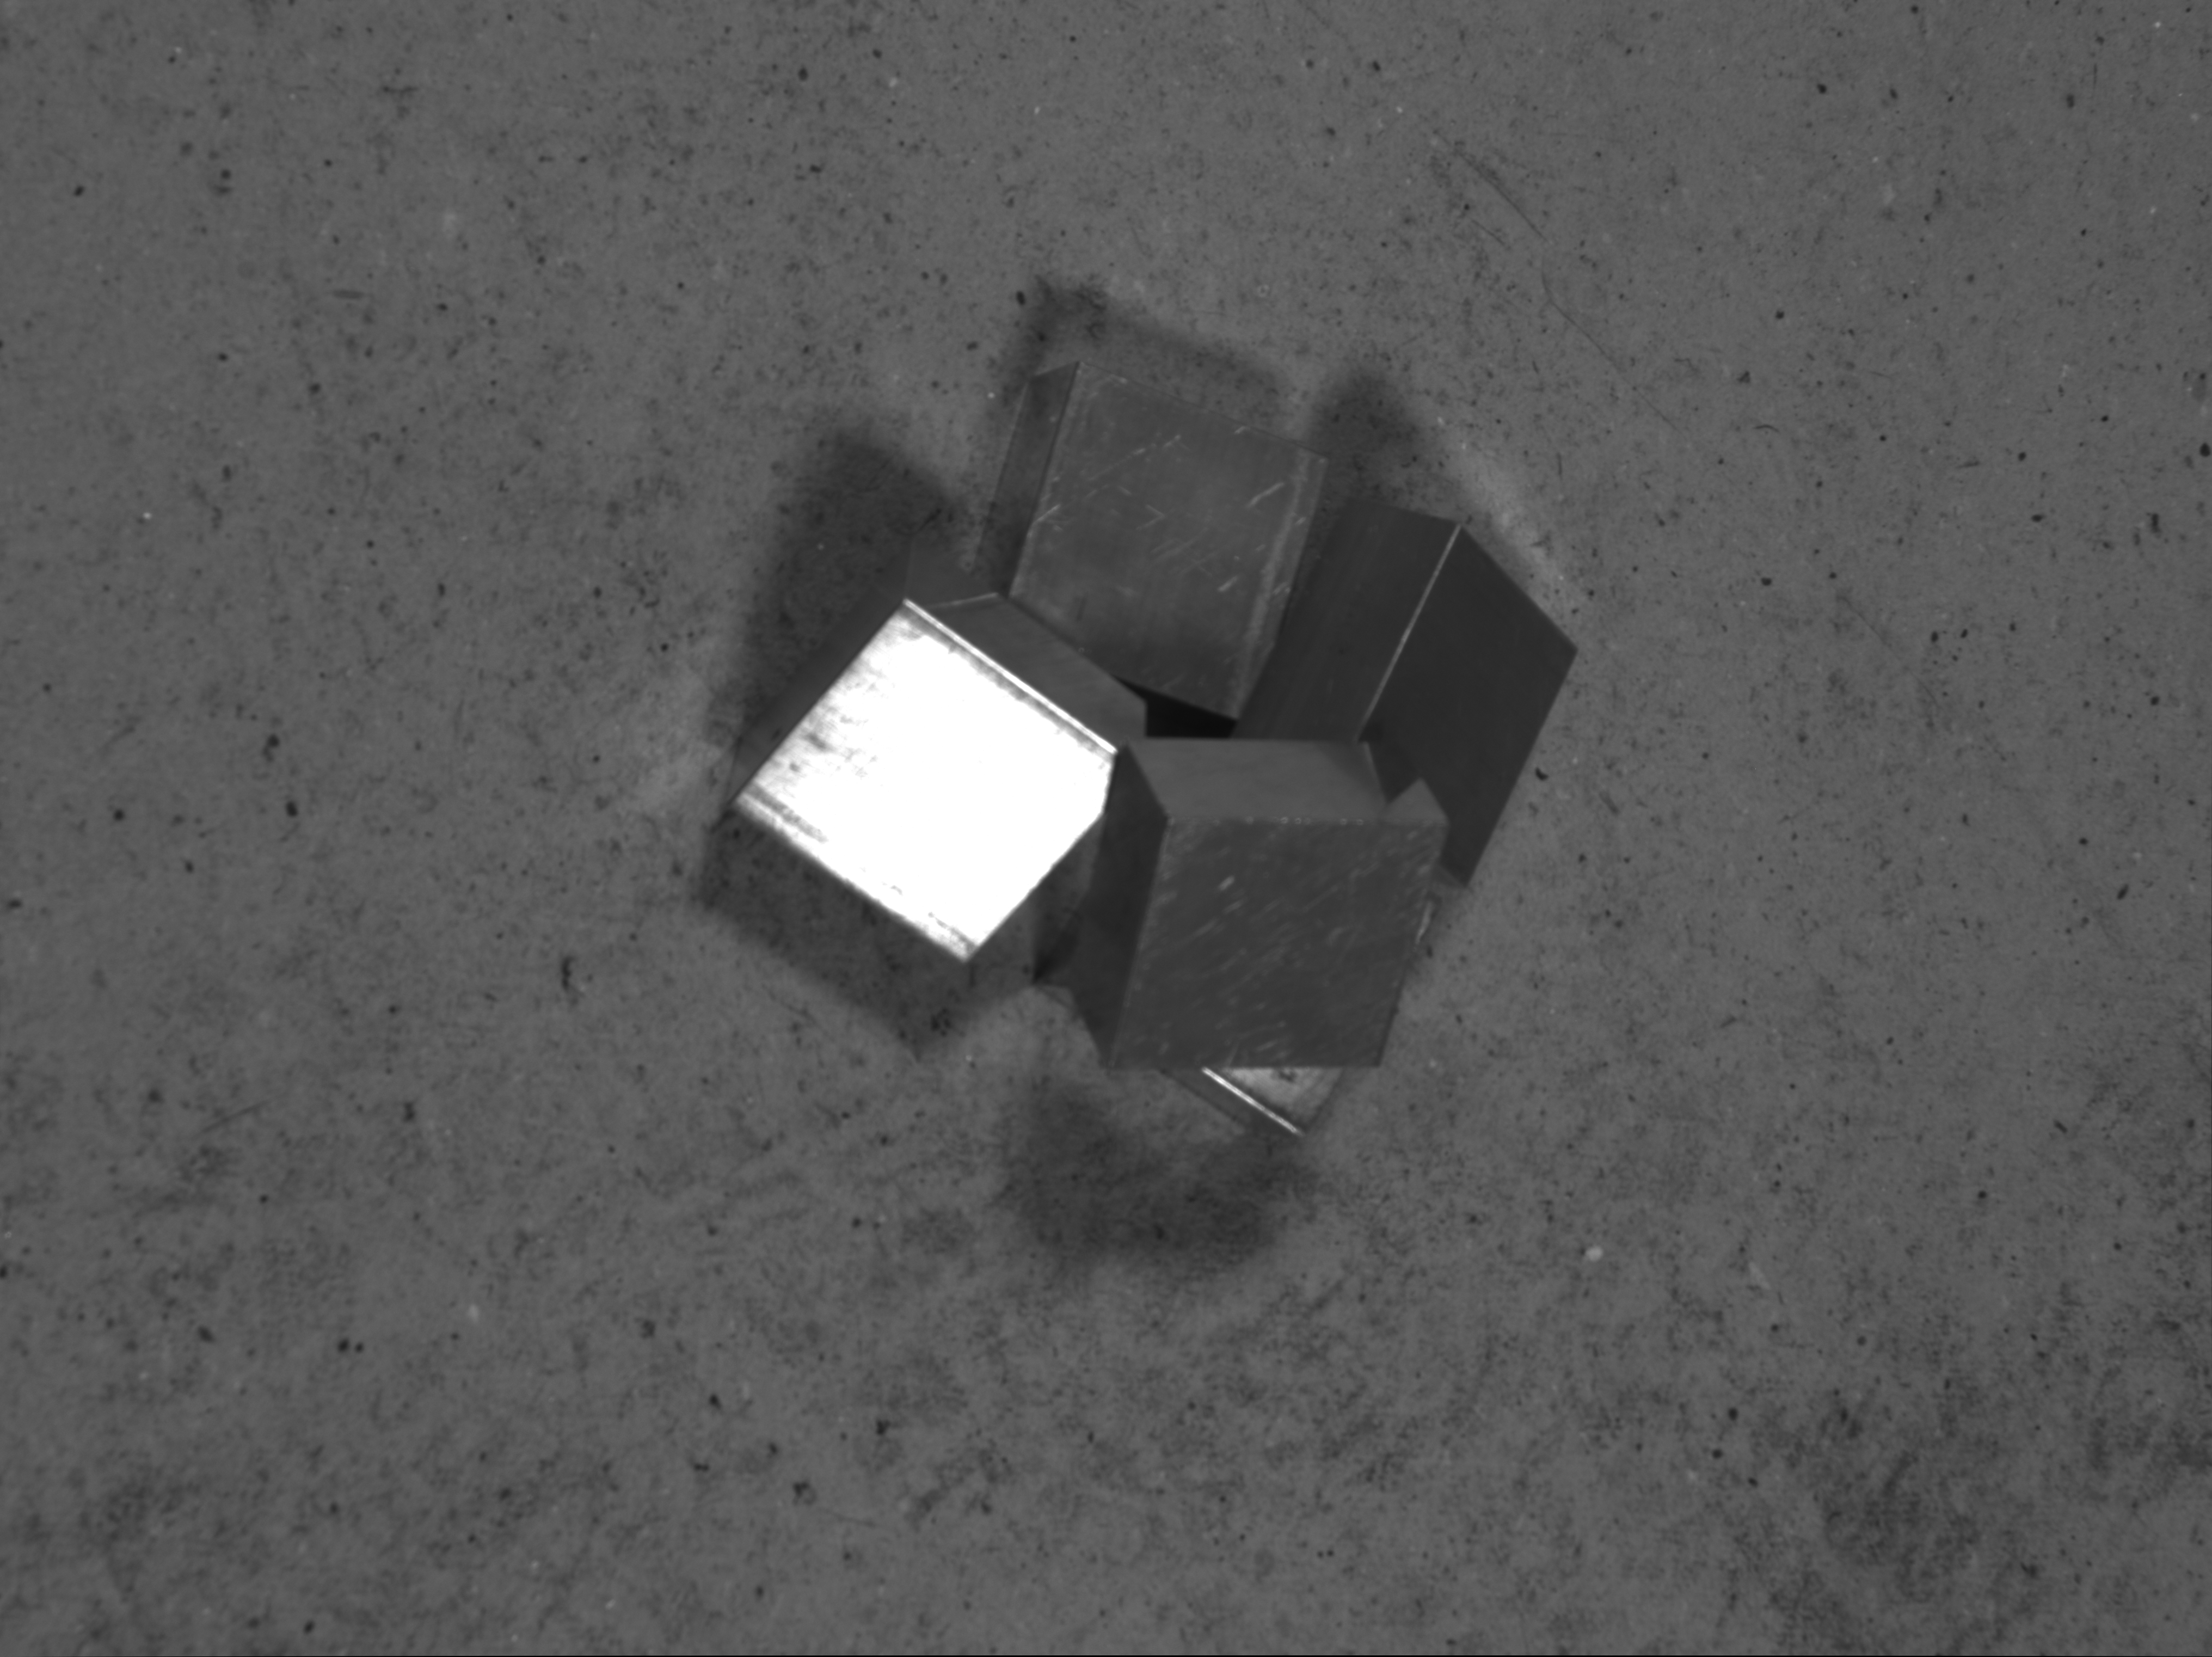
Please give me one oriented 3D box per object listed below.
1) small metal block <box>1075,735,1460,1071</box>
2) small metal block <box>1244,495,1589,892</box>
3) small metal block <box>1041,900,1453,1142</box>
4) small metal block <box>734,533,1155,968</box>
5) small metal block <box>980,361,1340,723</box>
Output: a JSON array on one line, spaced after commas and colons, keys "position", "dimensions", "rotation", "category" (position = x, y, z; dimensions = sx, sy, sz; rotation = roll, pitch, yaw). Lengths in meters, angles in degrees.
[{"position": [0.026, 0.013, 0.615], "dimensions": [0.050, 0.025, 0.050], "rotation": [0, 122, -20], "category": "small metal block"}, {"position": [0.055, -0.024, 0.652], "dimensions": [0.050, 0.025, 0.050], "rotation": [38, 75, -50], "category": "small metal block"}, {"position": [0.025, 0.021, 0.653], "dimensions": [0.050, 0.025, 0.050], "rotation": [34, 79, -17], "category": "small metal block"}, {"position": [-0.027, -0.013, 0.622], "dimensions": [0.050, 0.025, 0.050], "rotation": [35, 115, -17], "category": "small metal block"}, {"position": [0.007, -0.049, 0.647], "dimensions": [0.050, 0.025, 0.050], "rotation": [19, 84, -19], "category": "small metal block"}]
